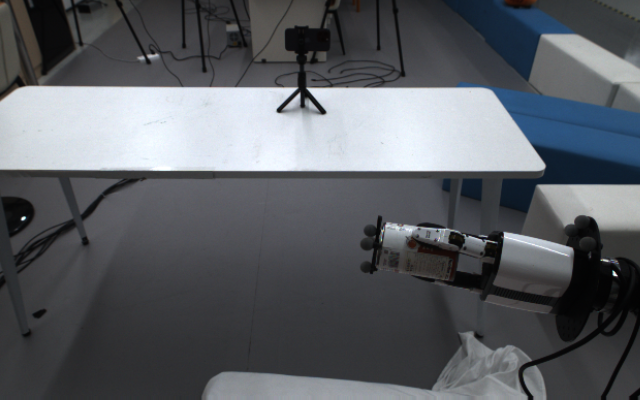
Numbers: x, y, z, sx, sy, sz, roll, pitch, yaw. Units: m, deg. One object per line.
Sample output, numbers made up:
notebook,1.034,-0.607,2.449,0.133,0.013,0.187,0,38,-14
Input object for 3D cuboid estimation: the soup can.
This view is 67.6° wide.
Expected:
soup can,0.134,0.068,0.653,0.101,0.067,0.067,8,35,9
